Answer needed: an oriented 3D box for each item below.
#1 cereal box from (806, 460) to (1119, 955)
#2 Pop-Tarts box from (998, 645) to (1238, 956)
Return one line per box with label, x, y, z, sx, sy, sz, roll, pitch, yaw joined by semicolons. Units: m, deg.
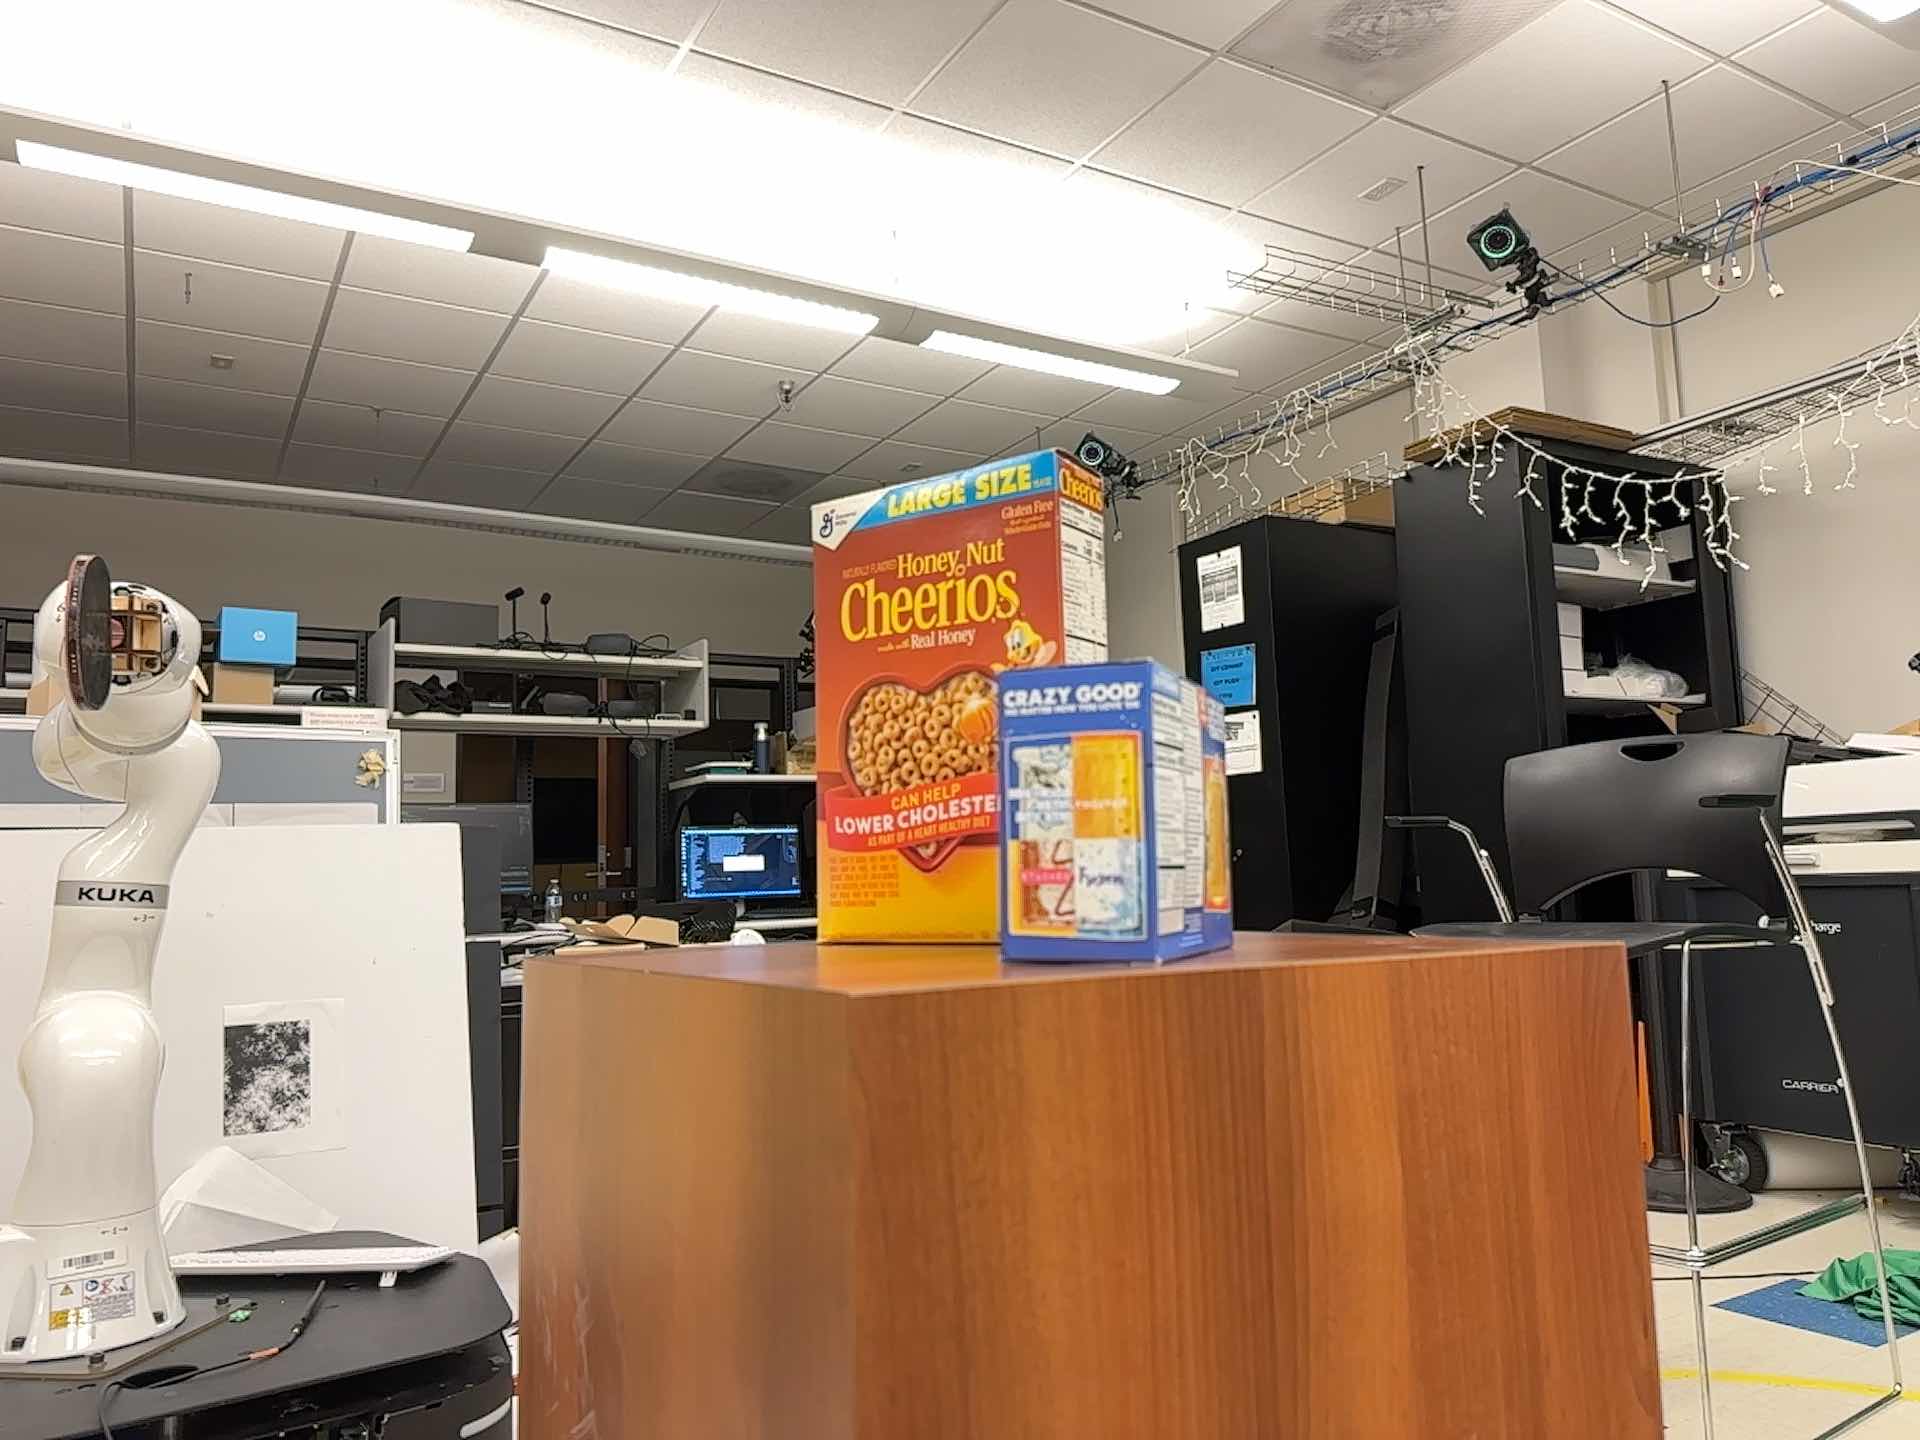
cereal box;-0.004;-0.001;0.893;0.195;0.297;0.065;-6;-10;30
Pop-Tarts box;0.084;0.047;0.686;0.075;0.135;0.161;-4;-9;21
